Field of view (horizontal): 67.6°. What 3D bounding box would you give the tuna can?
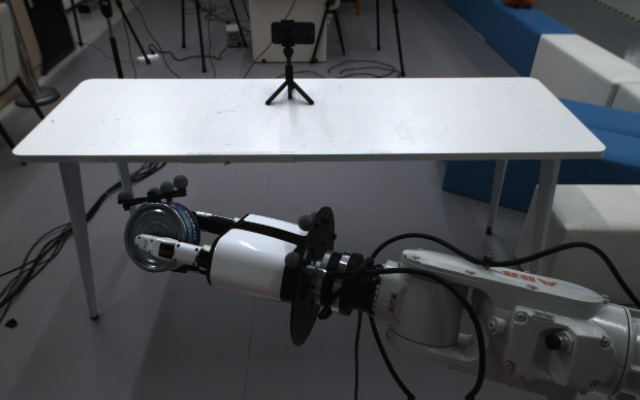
[{"bbox_3d":[-0.188,0.051,0.584,0.085,0.085,0.034,12,3,14],"label":"tuna can"}]
